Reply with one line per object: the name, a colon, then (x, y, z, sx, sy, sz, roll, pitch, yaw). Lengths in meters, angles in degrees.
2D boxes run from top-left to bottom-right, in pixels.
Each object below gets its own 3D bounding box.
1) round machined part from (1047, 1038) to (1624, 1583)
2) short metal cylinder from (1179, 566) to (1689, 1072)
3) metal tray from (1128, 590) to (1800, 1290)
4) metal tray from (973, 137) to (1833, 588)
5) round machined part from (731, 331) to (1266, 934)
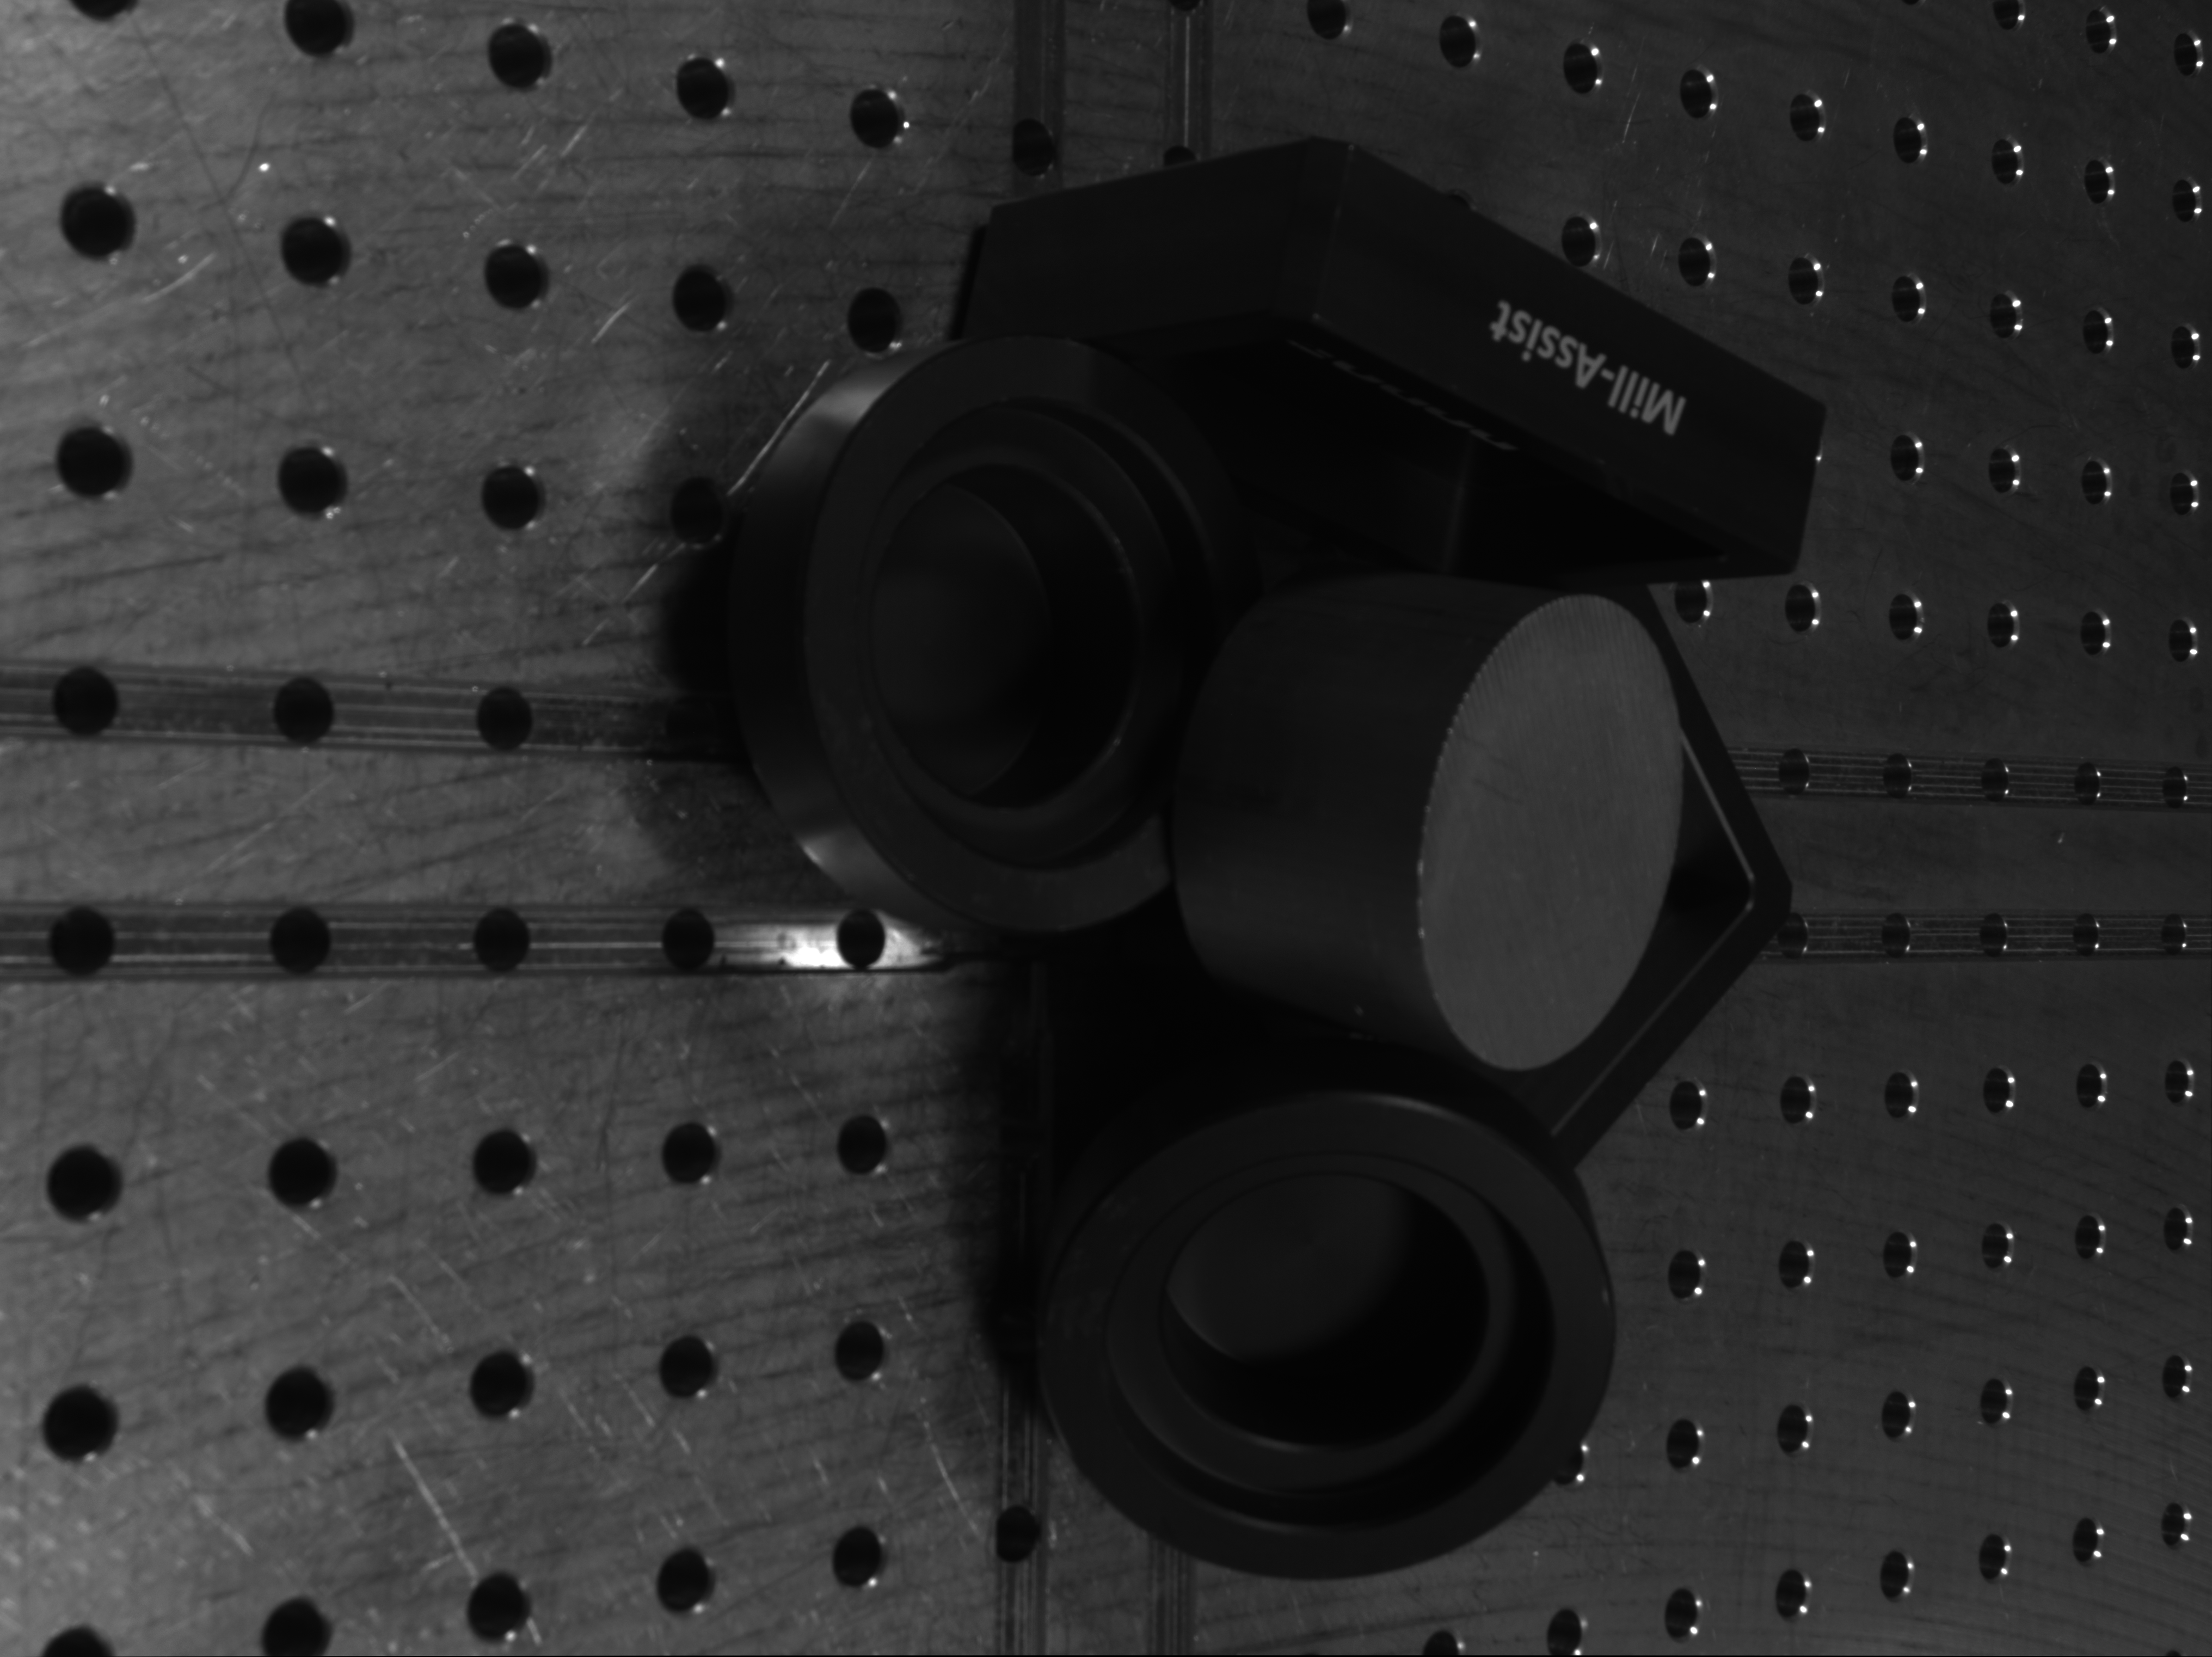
round machined part: (0.038, 0.079, 0.638, 0.098, 0.042, 0.098, -1, 115, -2)
short metal cylinder: (0.057, -0.003, 0.623, 0.080, 0.050, 0.080, -16, 111, -49)
metal tray: (0.072, 0.018, 0.696, 0.130, 0.030, 0.090, -44, 116, -31)
metal tray: (0.052, -0.077, 0.641, 0.130, 0.090, 0.030, 20, 77, -38)
round machined part: (-0.022, -0.032, 0.611, 0.098, 0.042, 0.098, 0, 90, -40)
